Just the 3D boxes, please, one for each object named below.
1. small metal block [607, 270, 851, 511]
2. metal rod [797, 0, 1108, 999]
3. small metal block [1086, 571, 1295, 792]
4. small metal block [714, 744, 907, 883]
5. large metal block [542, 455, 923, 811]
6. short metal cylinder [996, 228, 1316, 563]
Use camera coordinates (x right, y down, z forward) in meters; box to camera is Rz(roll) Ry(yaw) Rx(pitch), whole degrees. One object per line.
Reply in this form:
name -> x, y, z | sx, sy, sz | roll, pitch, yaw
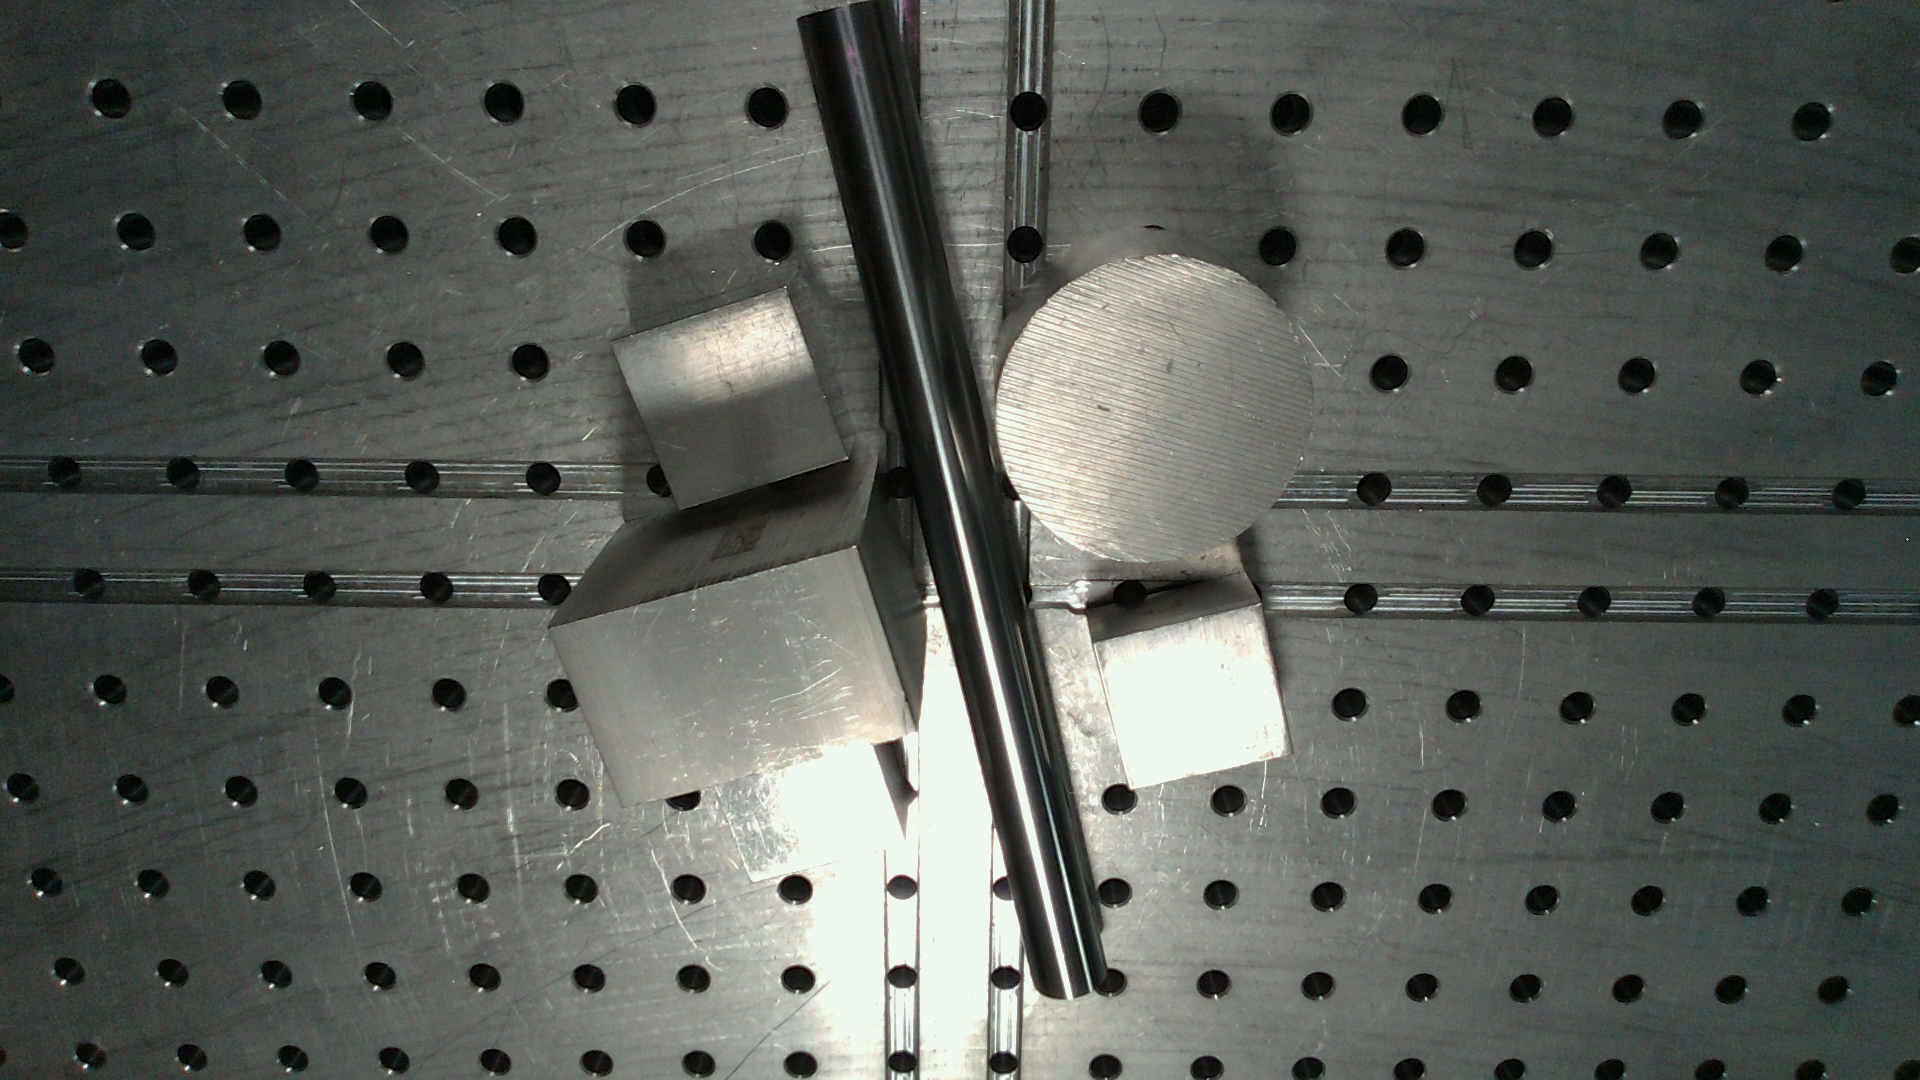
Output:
small metal block -> -0.062, -0.042, 0.381 | 0.050, 0.025, 0.050 | -17, 109, 6
metal rod -> 0.003, 0.004, 0.397 | 0.025, 0.025, 0.300 | -12, 110, 4
small metal block -> 0.069, 0.042, 0.412 | 0.050, 0.025, 0.050 | -14, 110, 5
small metal block -> -0.047, 0.072, 0.423 | 0.050, 0.025, 0.050 | -15, 110, 5
large metal block -> -0.055, 0.022, 0.373 | 0.080, 0.080, 0.050 | -15, 110, 5
short metal cylinder -> 0.049, -0.040, 0.368 | 0.080, 0.050, 0.080 | 0, 110, 0
